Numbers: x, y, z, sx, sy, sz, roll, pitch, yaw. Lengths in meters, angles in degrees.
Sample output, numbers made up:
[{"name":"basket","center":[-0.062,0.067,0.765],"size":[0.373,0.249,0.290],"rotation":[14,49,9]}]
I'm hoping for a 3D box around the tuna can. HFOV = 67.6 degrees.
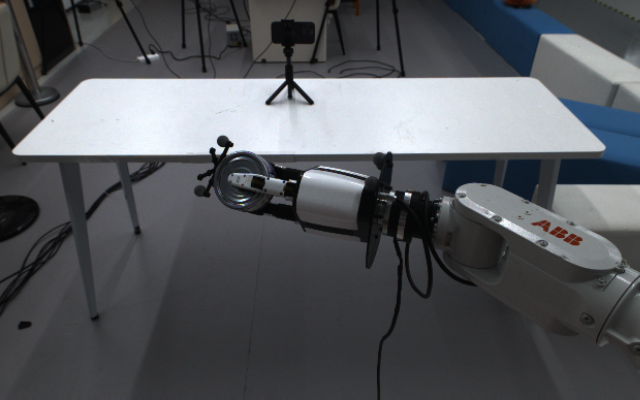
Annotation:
[{"name":"tuna can","center":[-0.106,-0.027,0.691],"size":[0.085,0.085,0.034],"rotation":[12,-3,14]}]
